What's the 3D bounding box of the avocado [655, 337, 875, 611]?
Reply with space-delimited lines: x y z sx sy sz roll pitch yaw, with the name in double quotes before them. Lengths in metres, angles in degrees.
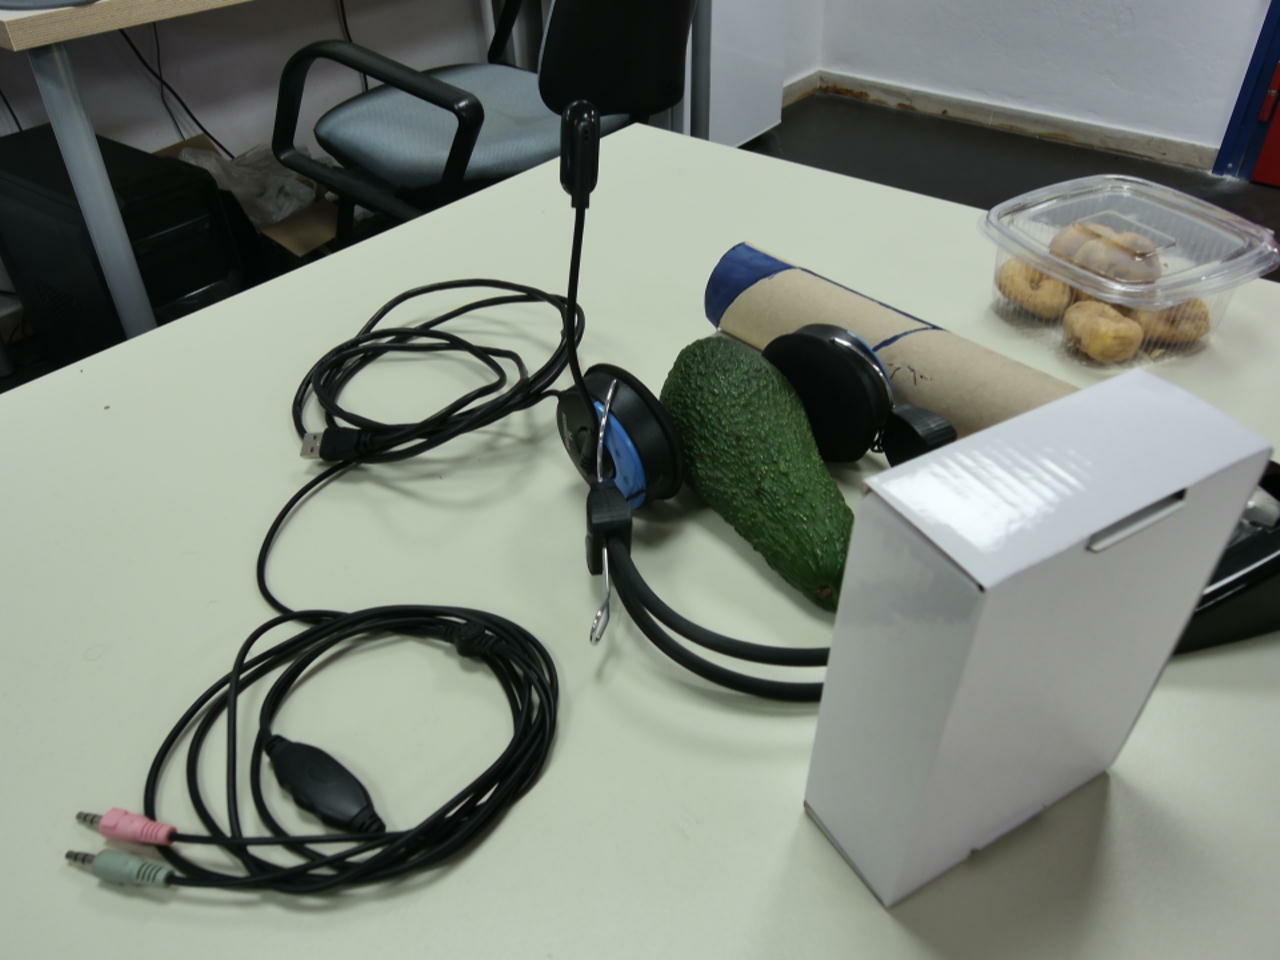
"avocado" 0.056 -0.011 0.419 0.063 0.067 0.141 -23 41 -27
